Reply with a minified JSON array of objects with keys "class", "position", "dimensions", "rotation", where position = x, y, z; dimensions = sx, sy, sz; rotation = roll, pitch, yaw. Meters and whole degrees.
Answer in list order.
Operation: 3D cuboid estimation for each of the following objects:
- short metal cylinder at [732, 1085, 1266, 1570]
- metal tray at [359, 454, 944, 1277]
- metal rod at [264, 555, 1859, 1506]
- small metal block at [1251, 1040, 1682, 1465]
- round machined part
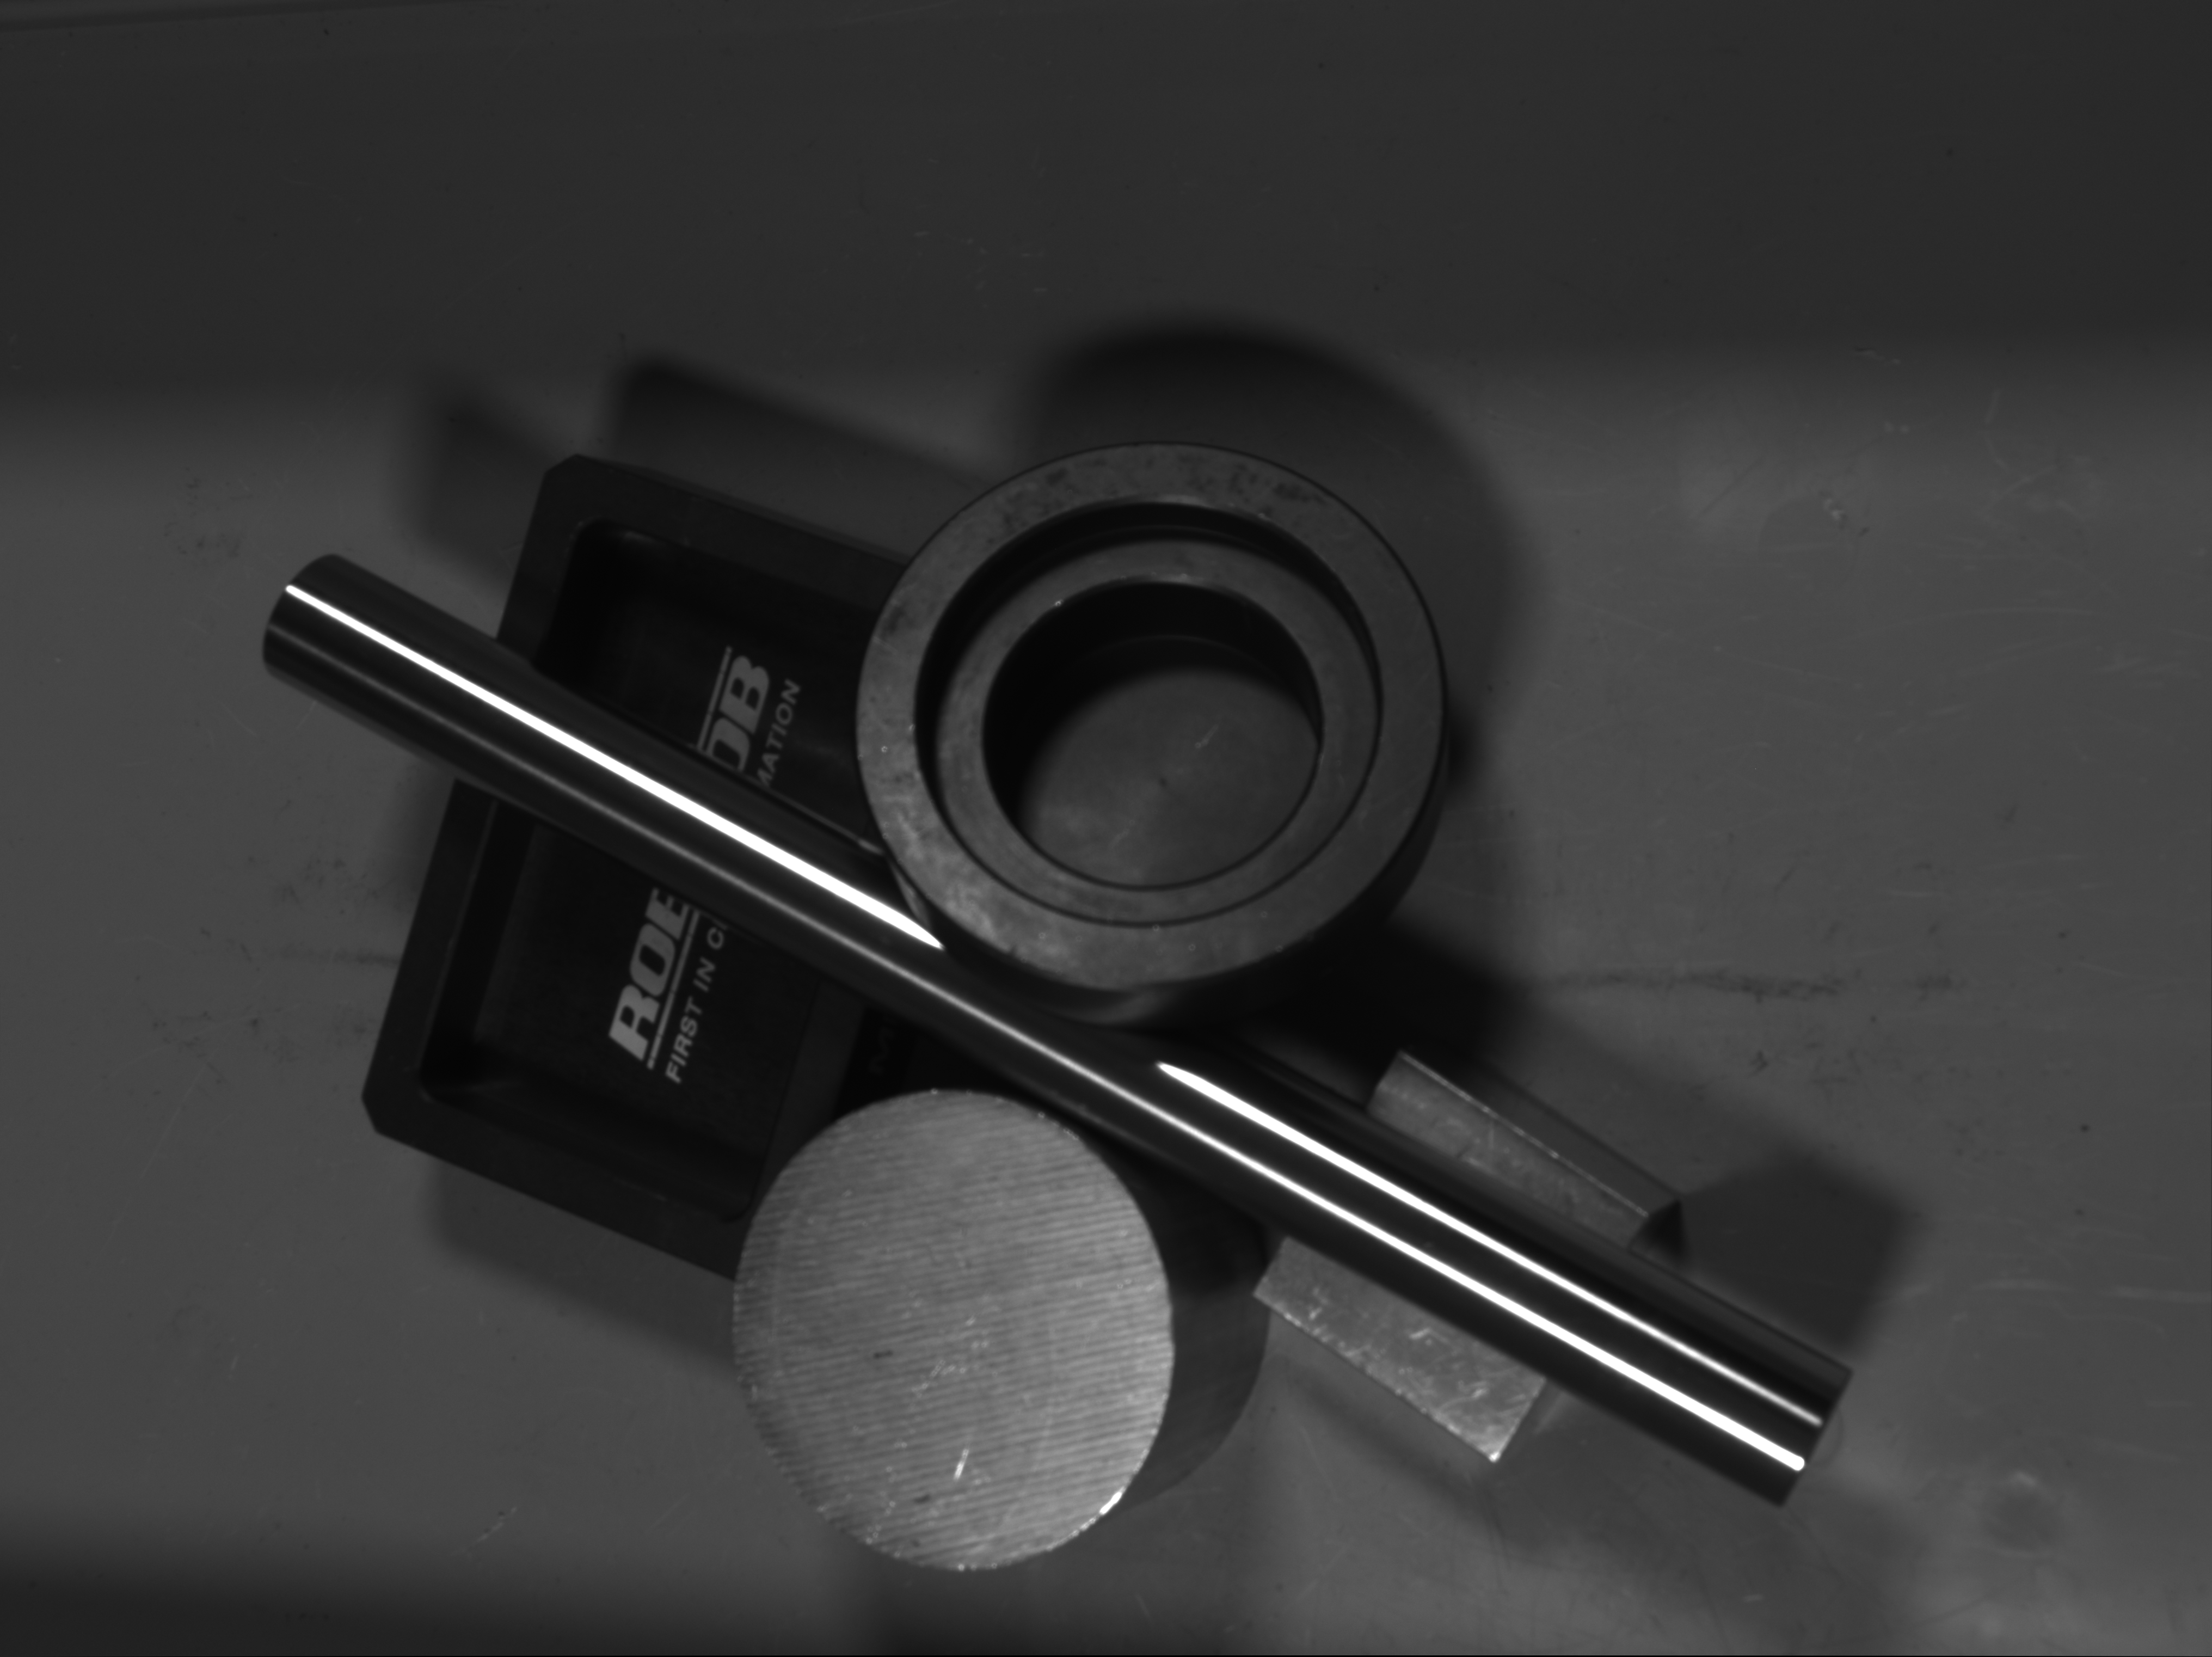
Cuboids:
[{"class":"short metal cylinder","position":[-0.018,0.084,0.635],"dimensions":[0.080,0.050,0.080],"rotation":[0,90,20]},{"class":"metal tray","position":[-0.075,0.007,0.666],"dimensions":[0.090,0.030,0.130],"rotation":[19,96,19]},{"class":"metal rod","position":[-0.015,0.029,0.618],"dimensions":[0.300,0.025,0.025],"rotation":[28,99,15]},{"class":"small metal block","position":[0.061,0.071,0.621],"dimensions":[0.050,0.025,0.050],"rotation":[33,100,17]},{"class":"round machined part","position":[0.009,-0.012,0.618],"dimensions":[0.098,0.042,0.098],"rotation":[-2,68,5]}]
